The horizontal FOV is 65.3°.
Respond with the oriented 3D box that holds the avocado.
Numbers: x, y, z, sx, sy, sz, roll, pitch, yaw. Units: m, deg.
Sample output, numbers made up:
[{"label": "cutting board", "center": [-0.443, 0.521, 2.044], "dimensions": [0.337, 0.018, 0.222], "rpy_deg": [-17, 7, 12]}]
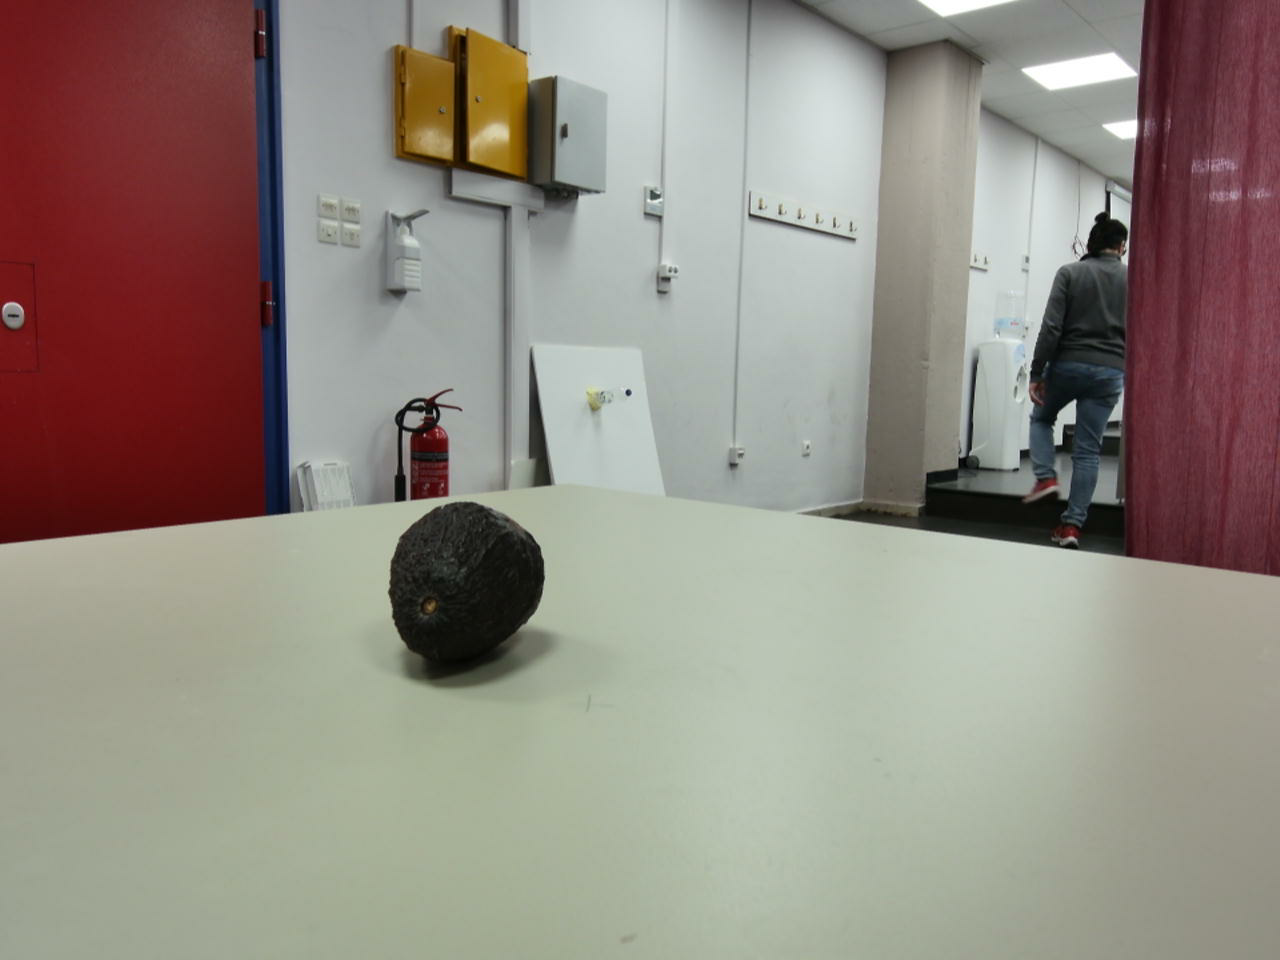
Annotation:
[{"label": "avocado", "center": [-0.074, 0.041, 0.410], "dimensions": [0.062, 0.062, 0.092], "rpy_deg": [2, 5, 16]}]
